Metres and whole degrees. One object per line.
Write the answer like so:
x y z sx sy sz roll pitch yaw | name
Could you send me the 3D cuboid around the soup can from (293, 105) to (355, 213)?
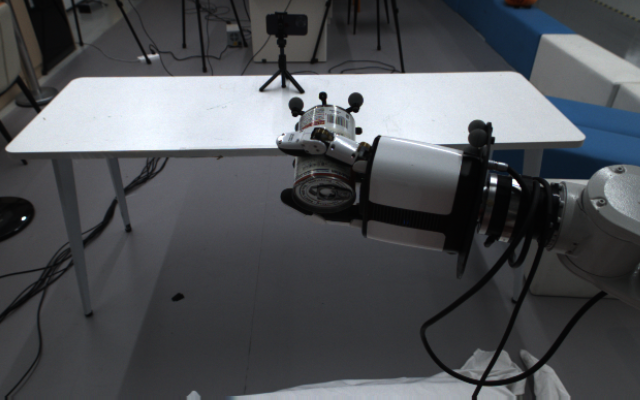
0.008 -0.045 0.530 0.067 0.067 0.101 3 57 1 | soup can
